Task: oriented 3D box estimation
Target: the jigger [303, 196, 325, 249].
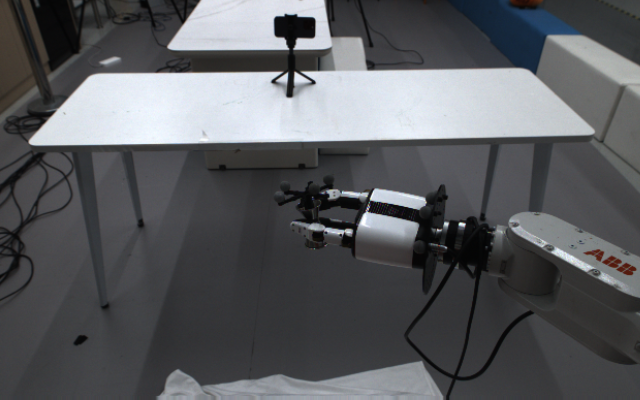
[{"bbox_3d":[-0.010,0.036,0.749,0.043,0.071,0.043,-11,24,5],"label":"jigger"}]
